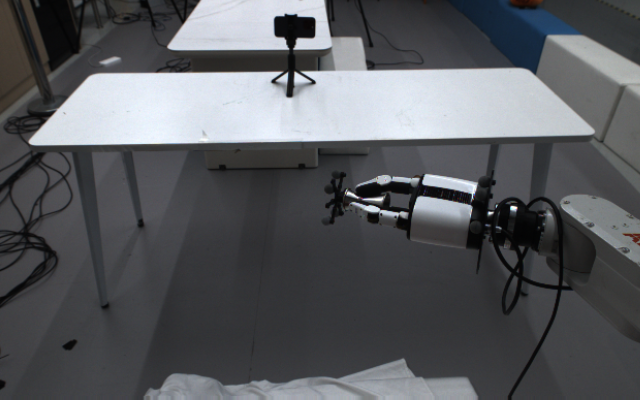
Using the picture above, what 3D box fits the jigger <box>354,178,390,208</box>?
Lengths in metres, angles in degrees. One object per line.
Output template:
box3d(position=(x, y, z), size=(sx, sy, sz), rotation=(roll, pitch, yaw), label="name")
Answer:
box3d(position=(0.081, 0.001, 0.785), size=(0.071, 0.043, 0.043), rotation=(10, 35, 22), label="jigger")
